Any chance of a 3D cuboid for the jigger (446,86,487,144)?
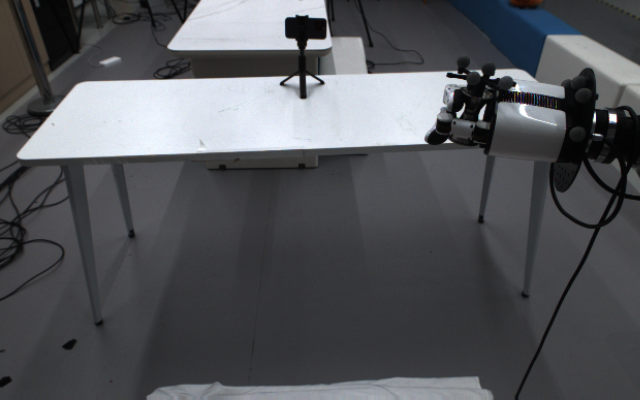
[{"bbox_3d":[0.202,-0.112,0.652,0.043,0.071,0.043,7,32,-4],"label":"jigger"}]
